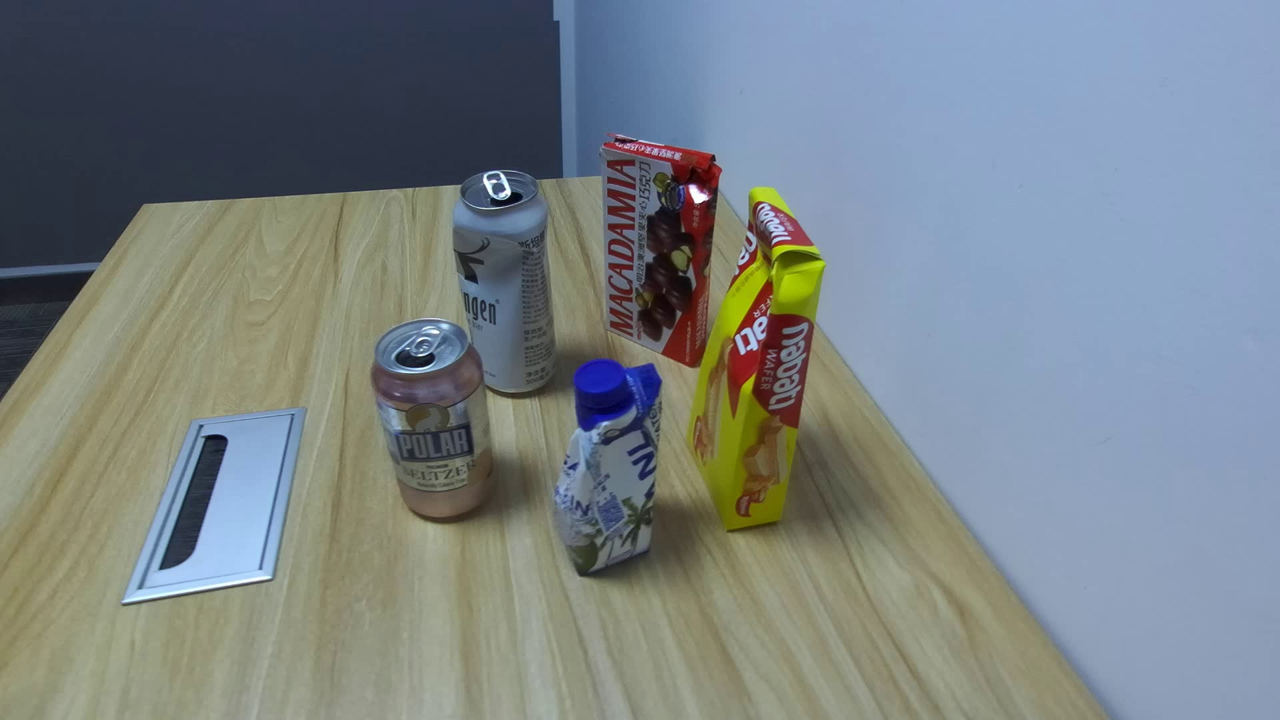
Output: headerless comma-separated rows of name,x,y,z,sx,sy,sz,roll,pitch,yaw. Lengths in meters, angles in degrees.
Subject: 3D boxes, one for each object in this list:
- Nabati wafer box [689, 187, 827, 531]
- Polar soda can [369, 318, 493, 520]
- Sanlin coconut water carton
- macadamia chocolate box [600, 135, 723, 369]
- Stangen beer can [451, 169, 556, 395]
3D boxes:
Nabati wafer box,0.069,0.005,0.440,0.043,0.205,0.113,-5,37,-11
Polar soda can,-0.131,0.039,0.455,0.067,0.126,0.067,2,37,-1
Sanlin coconut water carton,-0.012,0.062,0.416,0.069,0.144,0.056,-9,45,-26
macadamia chocolate box,0.016,-0.085,0.567,0.102,0.187,0.027,24,46,27
Stangen beer can,-0.100,-0.054,0.534,0.070,0.173,0.070,-11,39,-15
